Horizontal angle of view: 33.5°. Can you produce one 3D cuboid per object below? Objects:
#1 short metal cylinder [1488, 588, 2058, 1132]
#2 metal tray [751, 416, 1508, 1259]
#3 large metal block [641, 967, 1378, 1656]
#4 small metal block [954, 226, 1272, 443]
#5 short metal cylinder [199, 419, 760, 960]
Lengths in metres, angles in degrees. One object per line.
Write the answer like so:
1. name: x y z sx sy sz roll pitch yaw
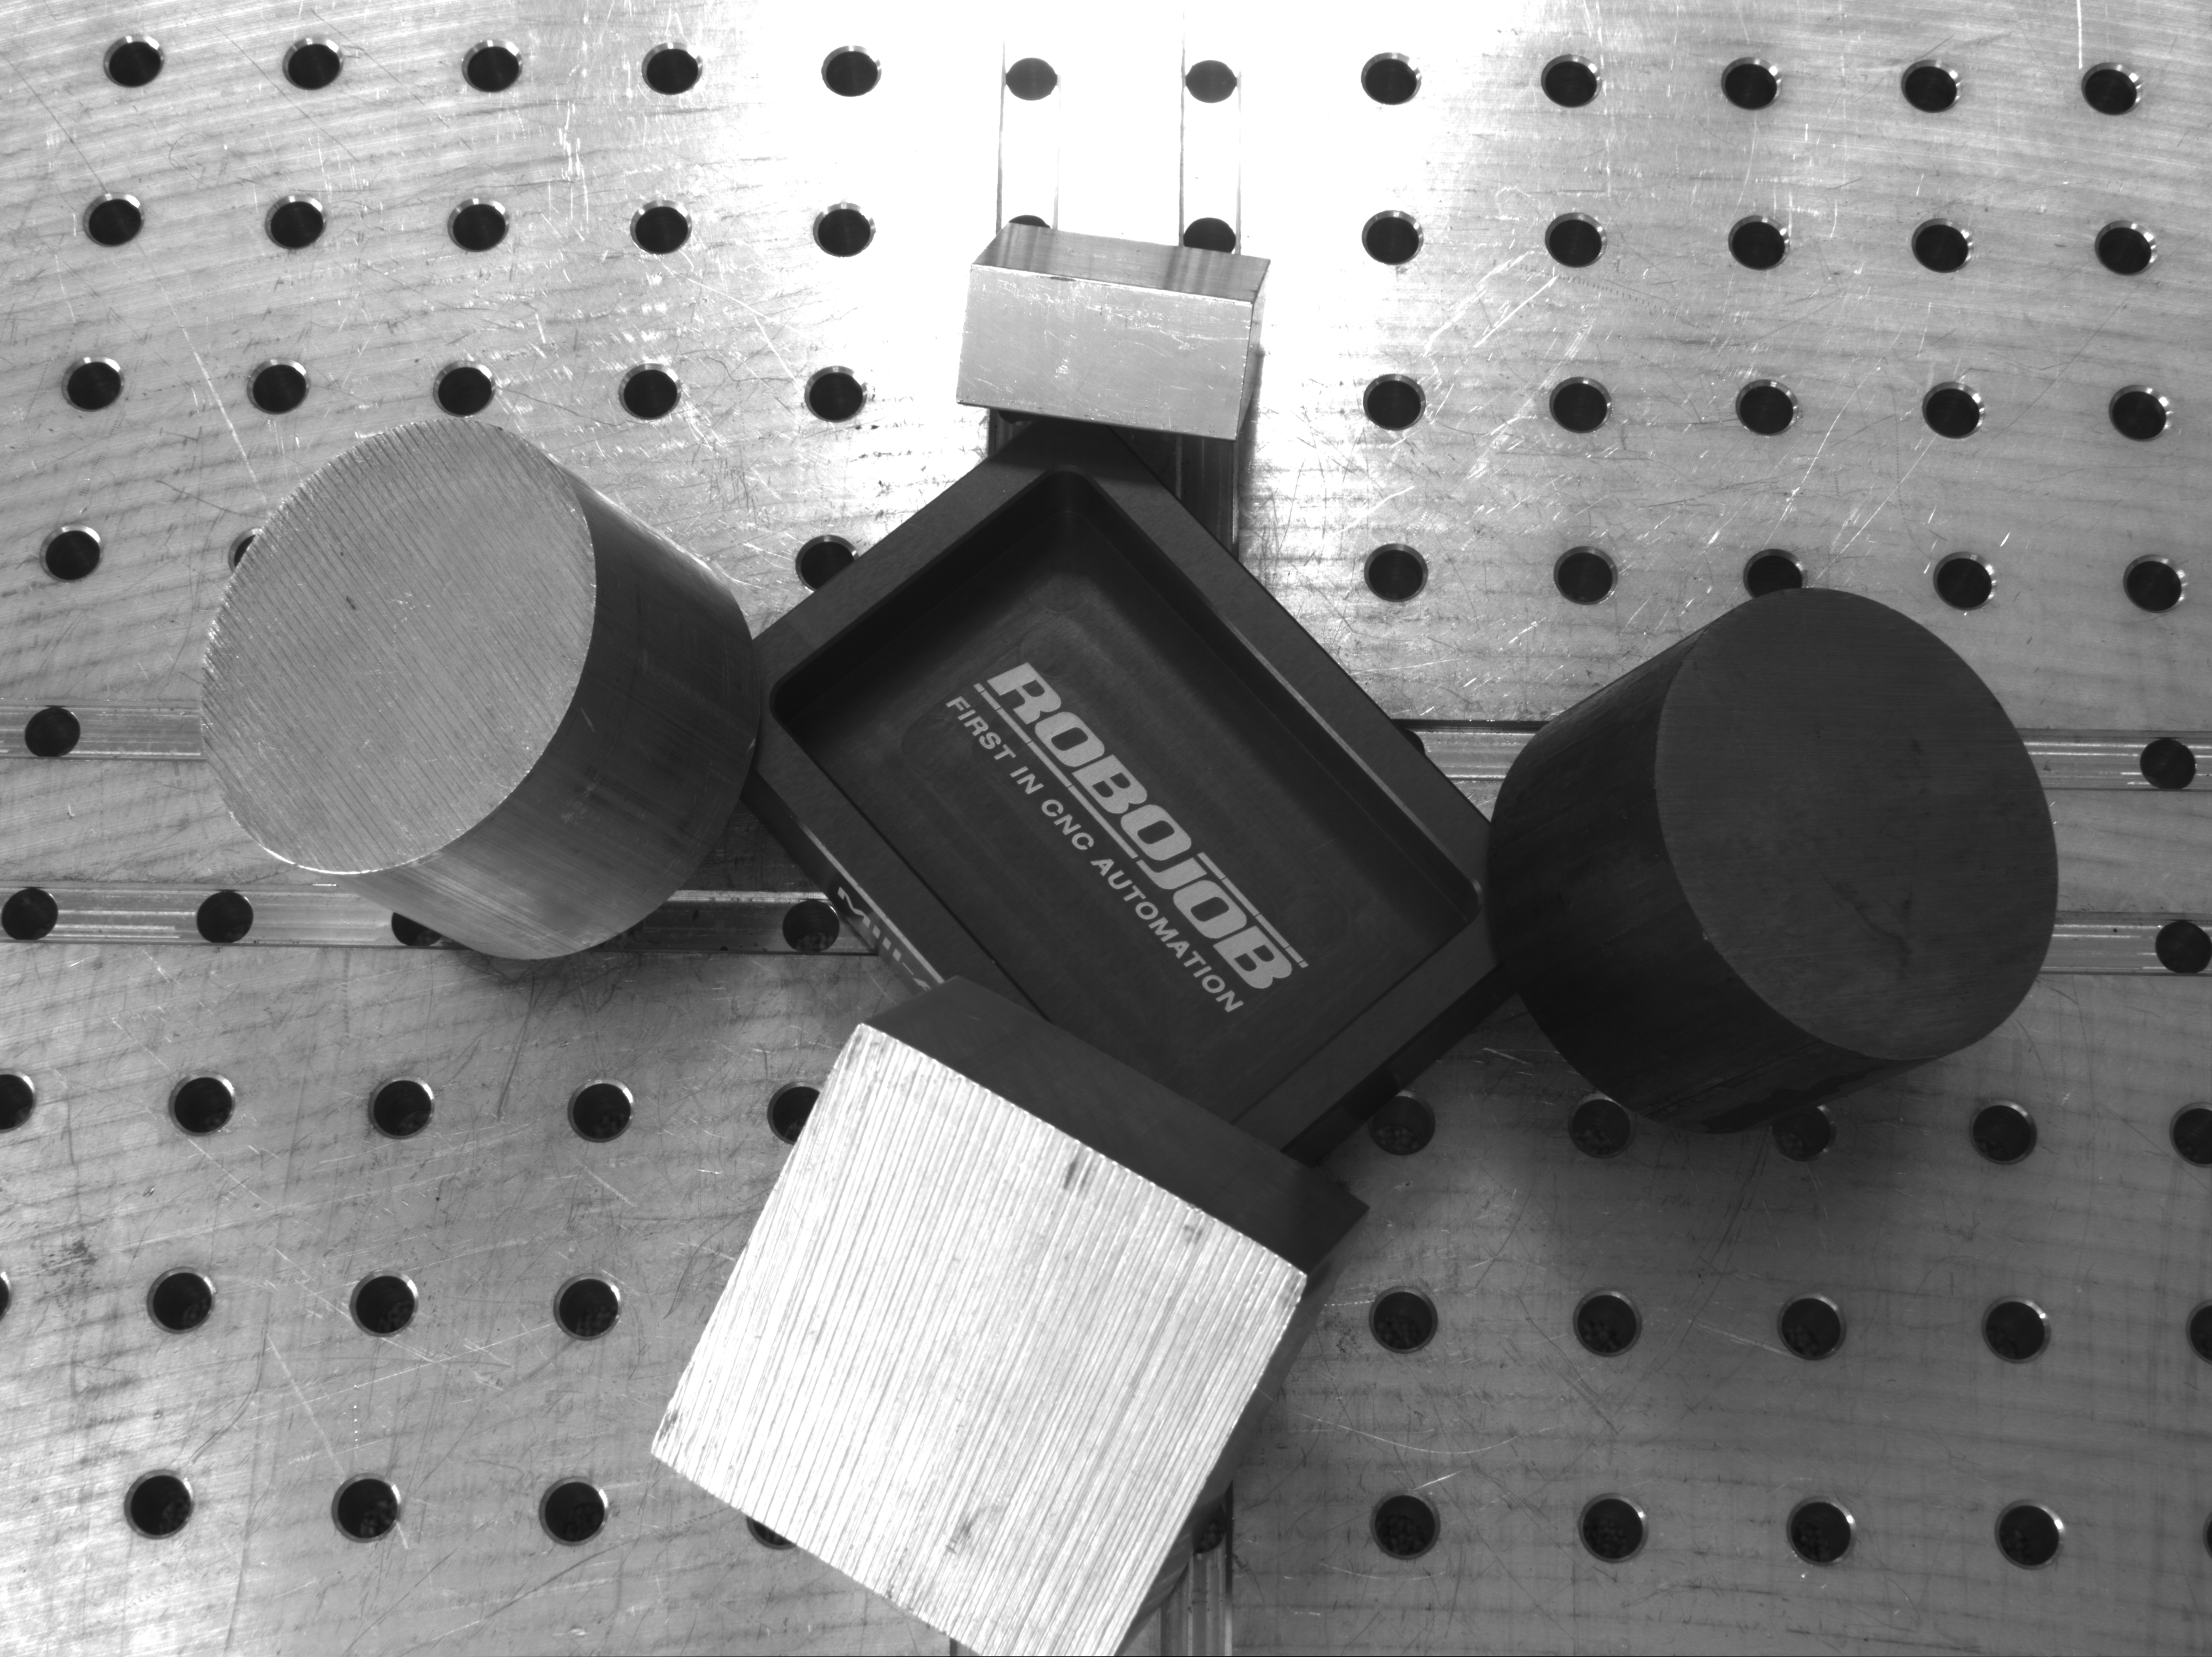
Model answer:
1. short metal cylinder: 0.111 0.006 0.616 0.080 0.050 0.080 10 68 -24
2. metal tray: 0.003 -0.001 0.645 0.090 0.030 0.130 -39 75 -13
3. large metal block: -0.015 0.080 0.587 0.080 0.050 0.080 29 103 10
4. small metal block: 0.002 -0.090 0.665 0.050 0.050 0.025 9 108 4
5. short metal cylinder: -0.106 -0.023 0.627 0.080 0.050 0.080 -9 68 24
